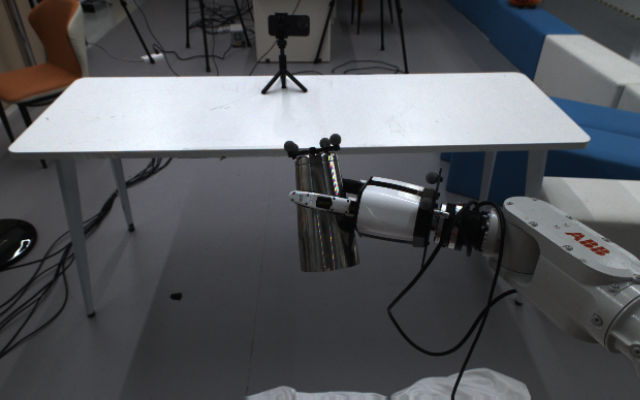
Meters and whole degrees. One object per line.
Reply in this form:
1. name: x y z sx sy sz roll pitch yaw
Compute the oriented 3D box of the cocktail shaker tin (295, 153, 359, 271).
1. cocktail shaker tin: 0.004 0.018 0.741 0.093 0.170 0.093 -8 1 0
